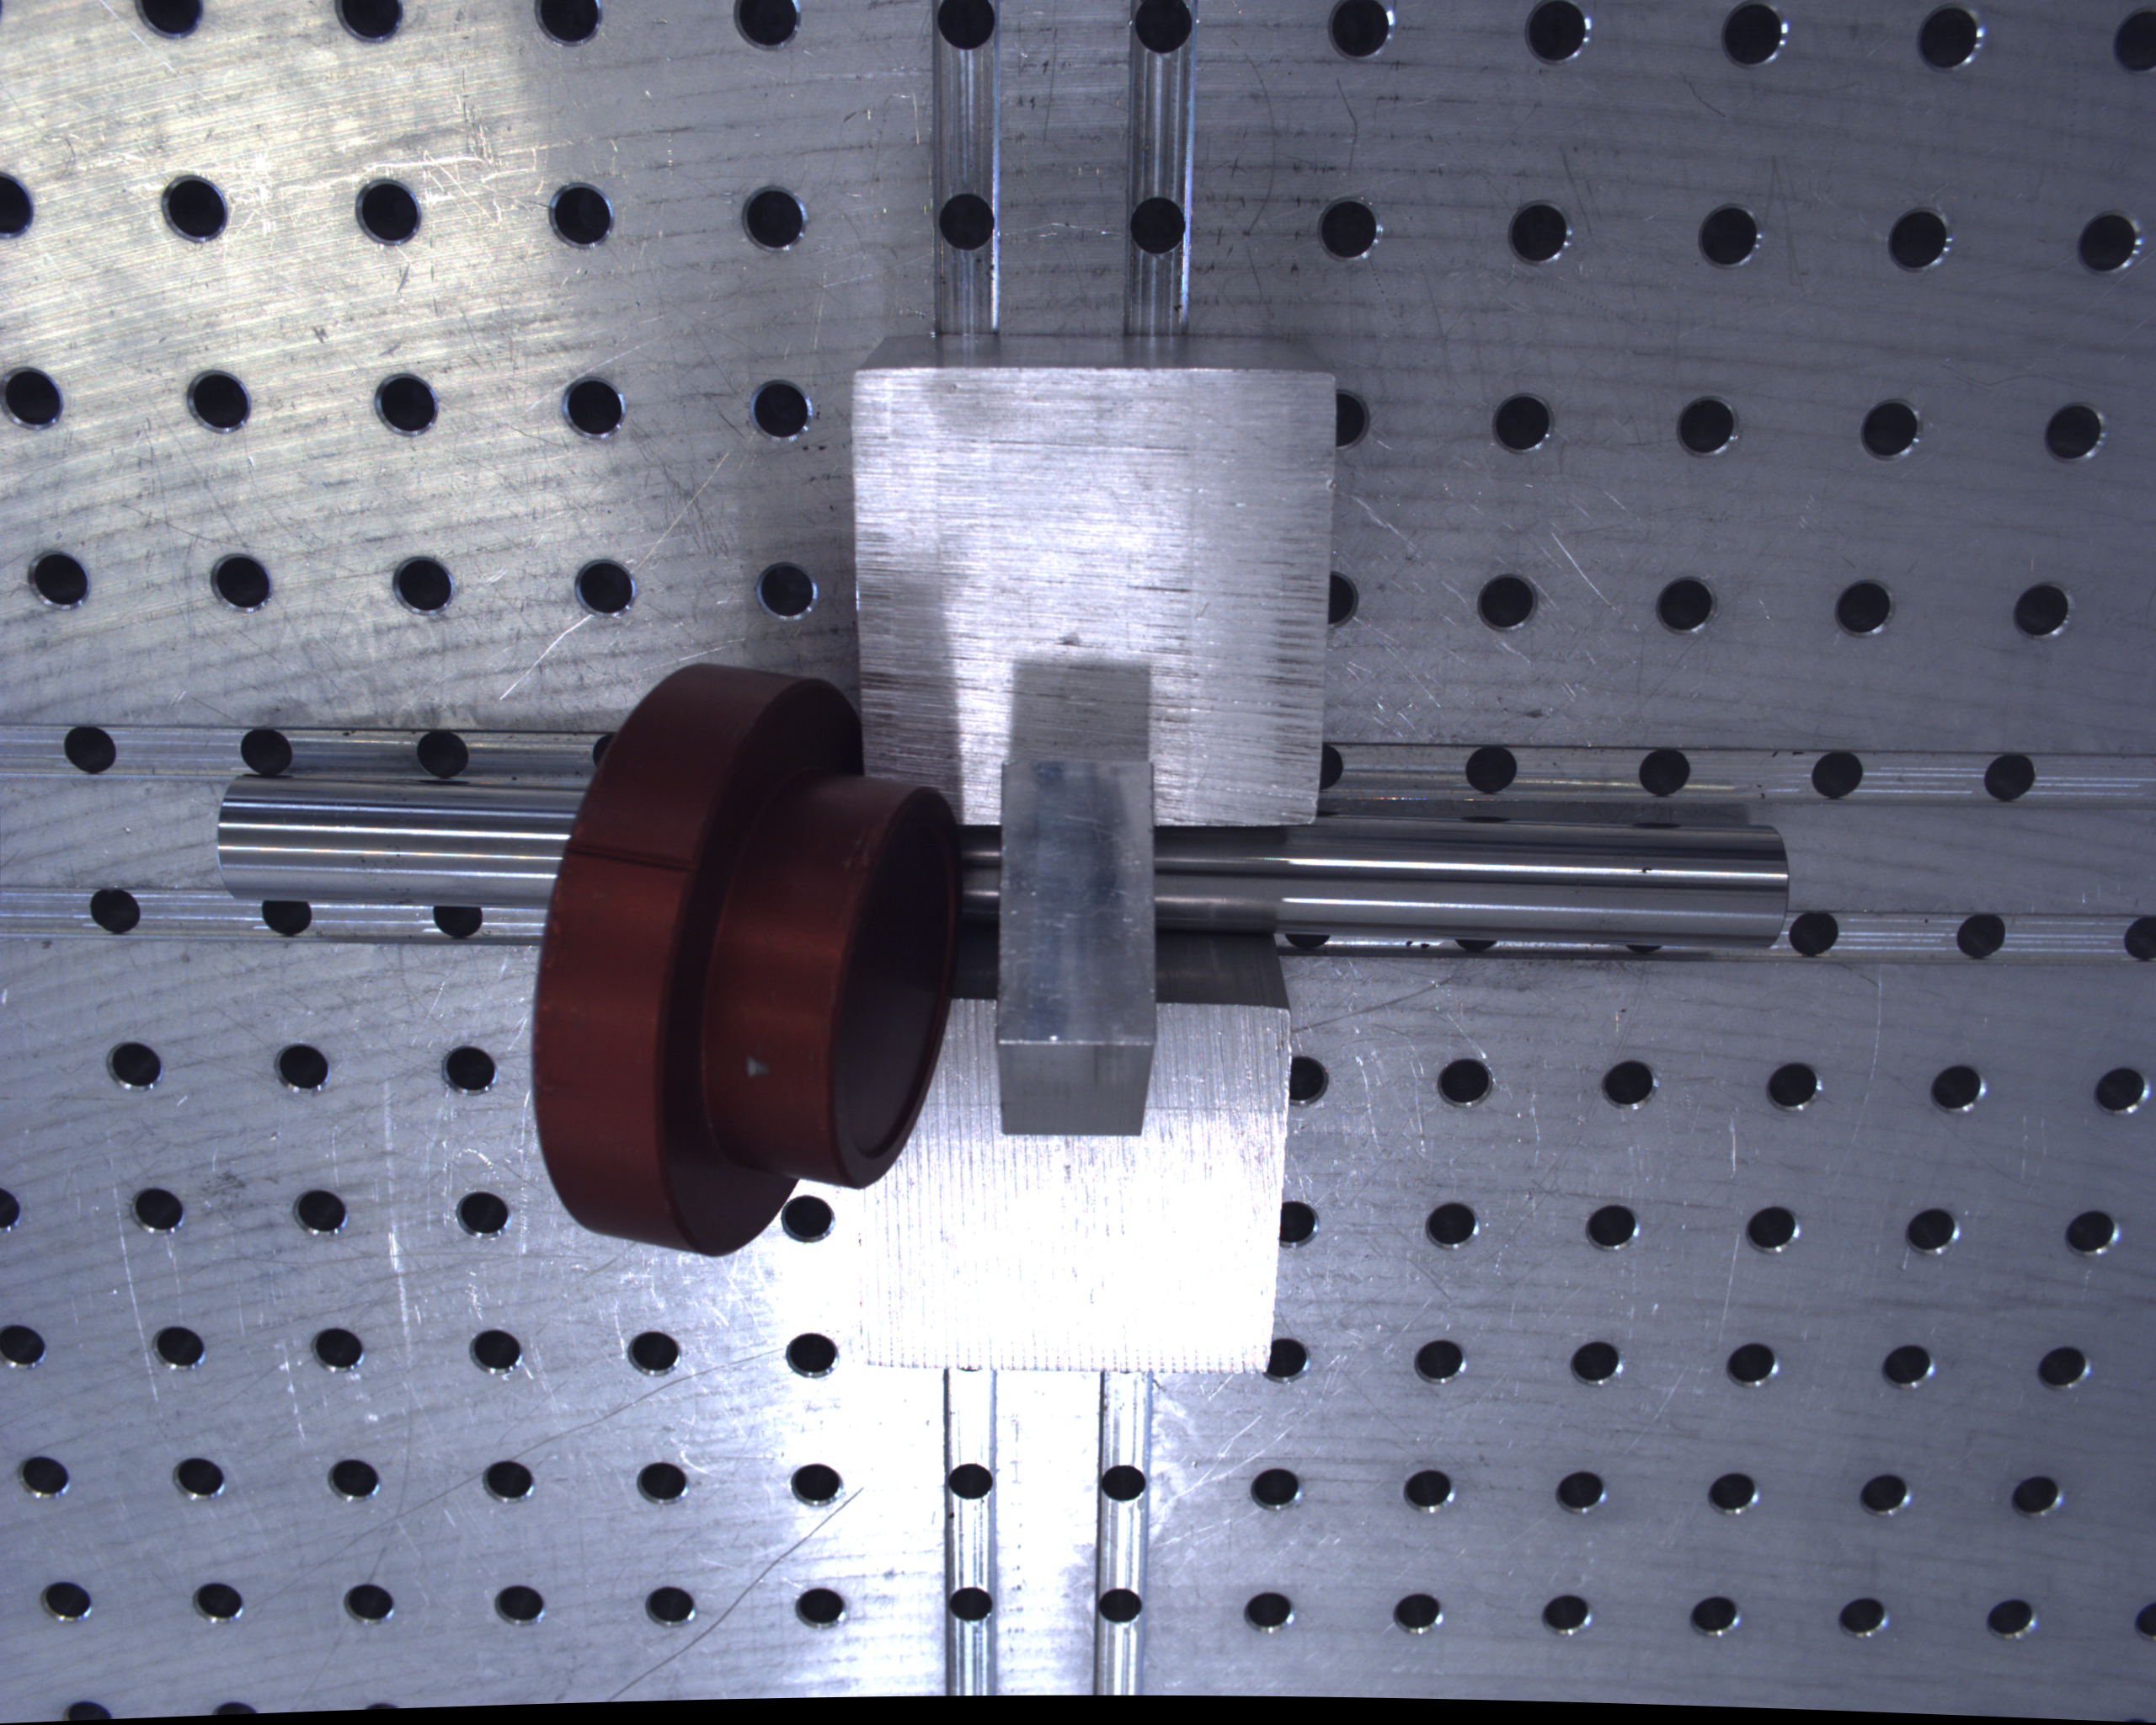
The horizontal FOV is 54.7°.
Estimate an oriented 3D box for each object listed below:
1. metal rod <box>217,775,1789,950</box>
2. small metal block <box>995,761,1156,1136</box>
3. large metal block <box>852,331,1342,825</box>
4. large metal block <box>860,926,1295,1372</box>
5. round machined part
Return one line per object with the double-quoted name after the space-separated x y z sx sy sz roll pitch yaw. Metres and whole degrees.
-0.013 0.000 0.413 0.302 0.025 0.025 2 110 -1 "metal rod"
0.000 0.016 0.359 0.025 0.050 0.050 1 66 0 "small metal block"
0.003 -0.053 0.380 0.081 0.050 0.079 1 110 -1 "large metal block"
-0.001 0.054 0.420 0.081 0.050 0.079 1 110 -1 "large metal block"
-0.049 0.018 0.350 0.042 0.098 0.097 9 111 12 "round machined part"
